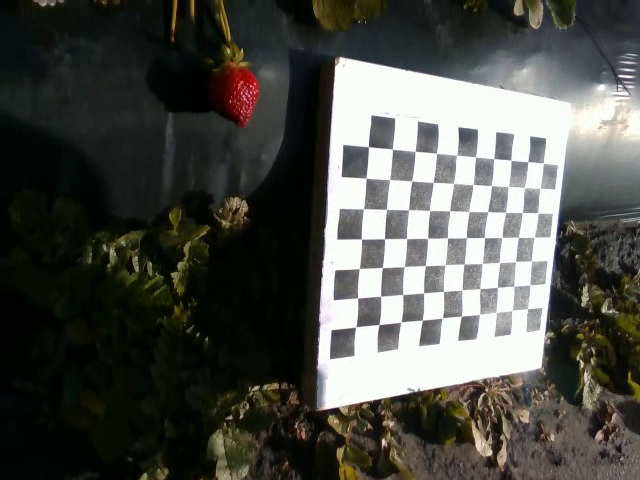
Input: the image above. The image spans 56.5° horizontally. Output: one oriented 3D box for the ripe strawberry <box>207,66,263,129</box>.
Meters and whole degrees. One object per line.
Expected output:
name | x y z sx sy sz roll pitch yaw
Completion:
ripe strawberry | -0.054 -0.090 0.381 0.040 0.044 0.036 -22 6 -28
